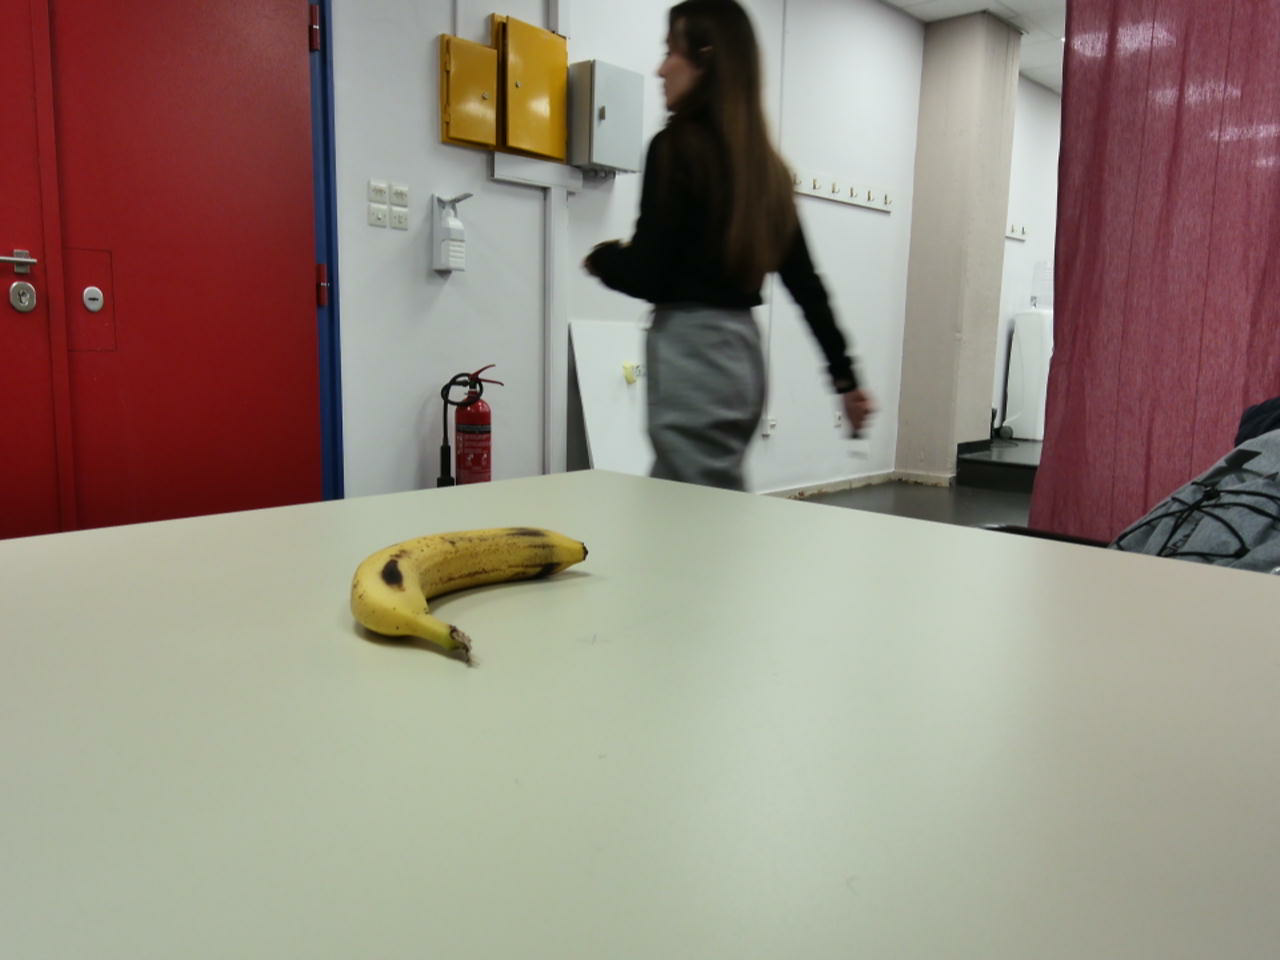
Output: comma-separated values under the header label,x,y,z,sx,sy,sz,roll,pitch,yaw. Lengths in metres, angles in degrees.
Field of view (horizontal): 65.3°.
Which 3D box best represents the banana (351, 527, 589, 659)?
label,x,y,z,sx,sy,sz,roll,pitch,yaw
banana,-0.105,0.055,0.579,0.097,0.038,0.186,3,7,14
